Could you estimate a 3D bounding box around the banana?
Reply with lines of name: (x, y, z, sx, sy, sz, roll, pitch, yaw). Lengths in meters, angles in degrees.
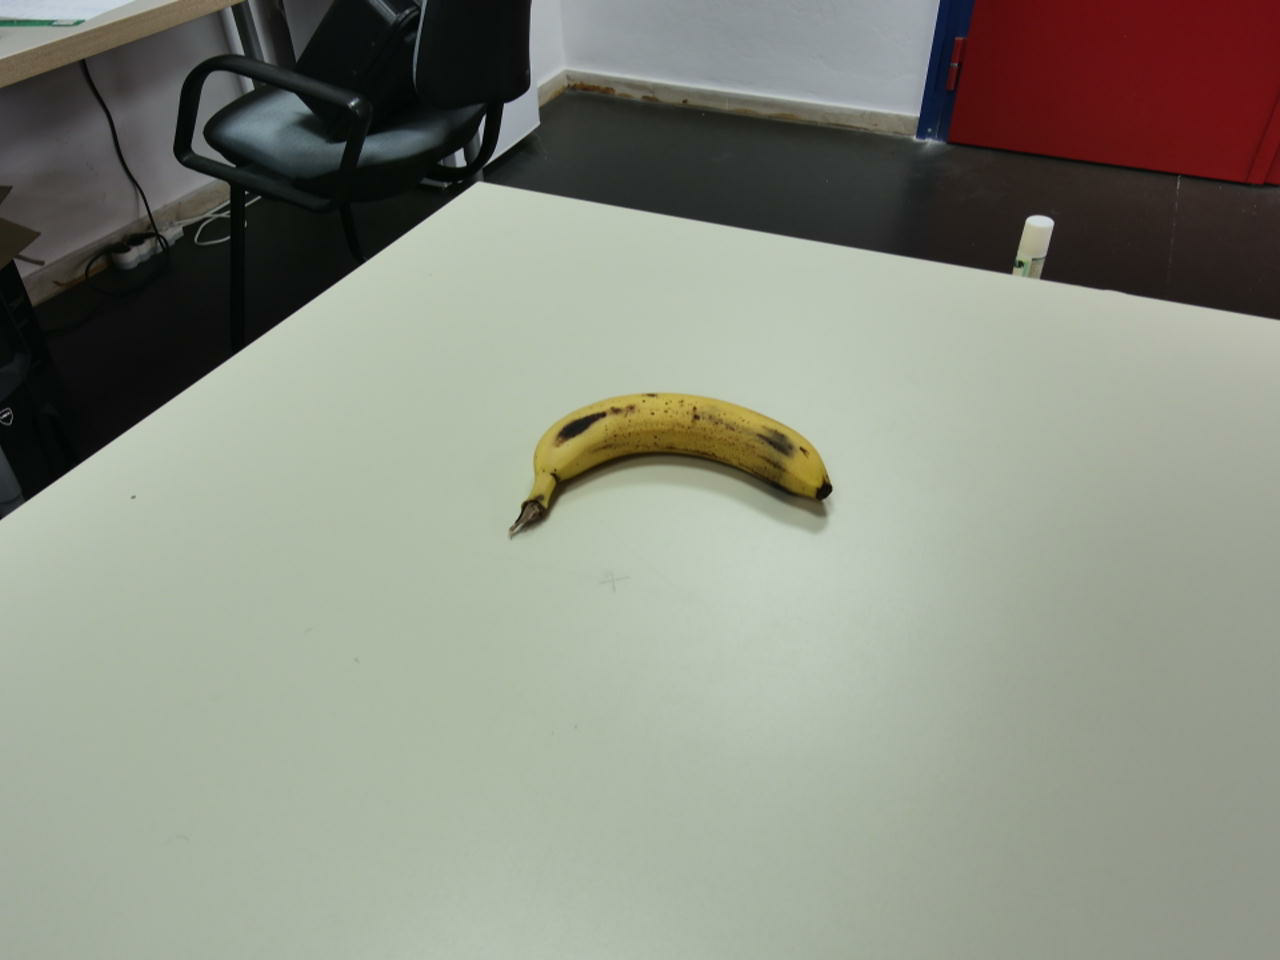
banana: (0.018, -0.017, 0.614, 0.186, 0.038, 0.097, -3, 38, -2)
